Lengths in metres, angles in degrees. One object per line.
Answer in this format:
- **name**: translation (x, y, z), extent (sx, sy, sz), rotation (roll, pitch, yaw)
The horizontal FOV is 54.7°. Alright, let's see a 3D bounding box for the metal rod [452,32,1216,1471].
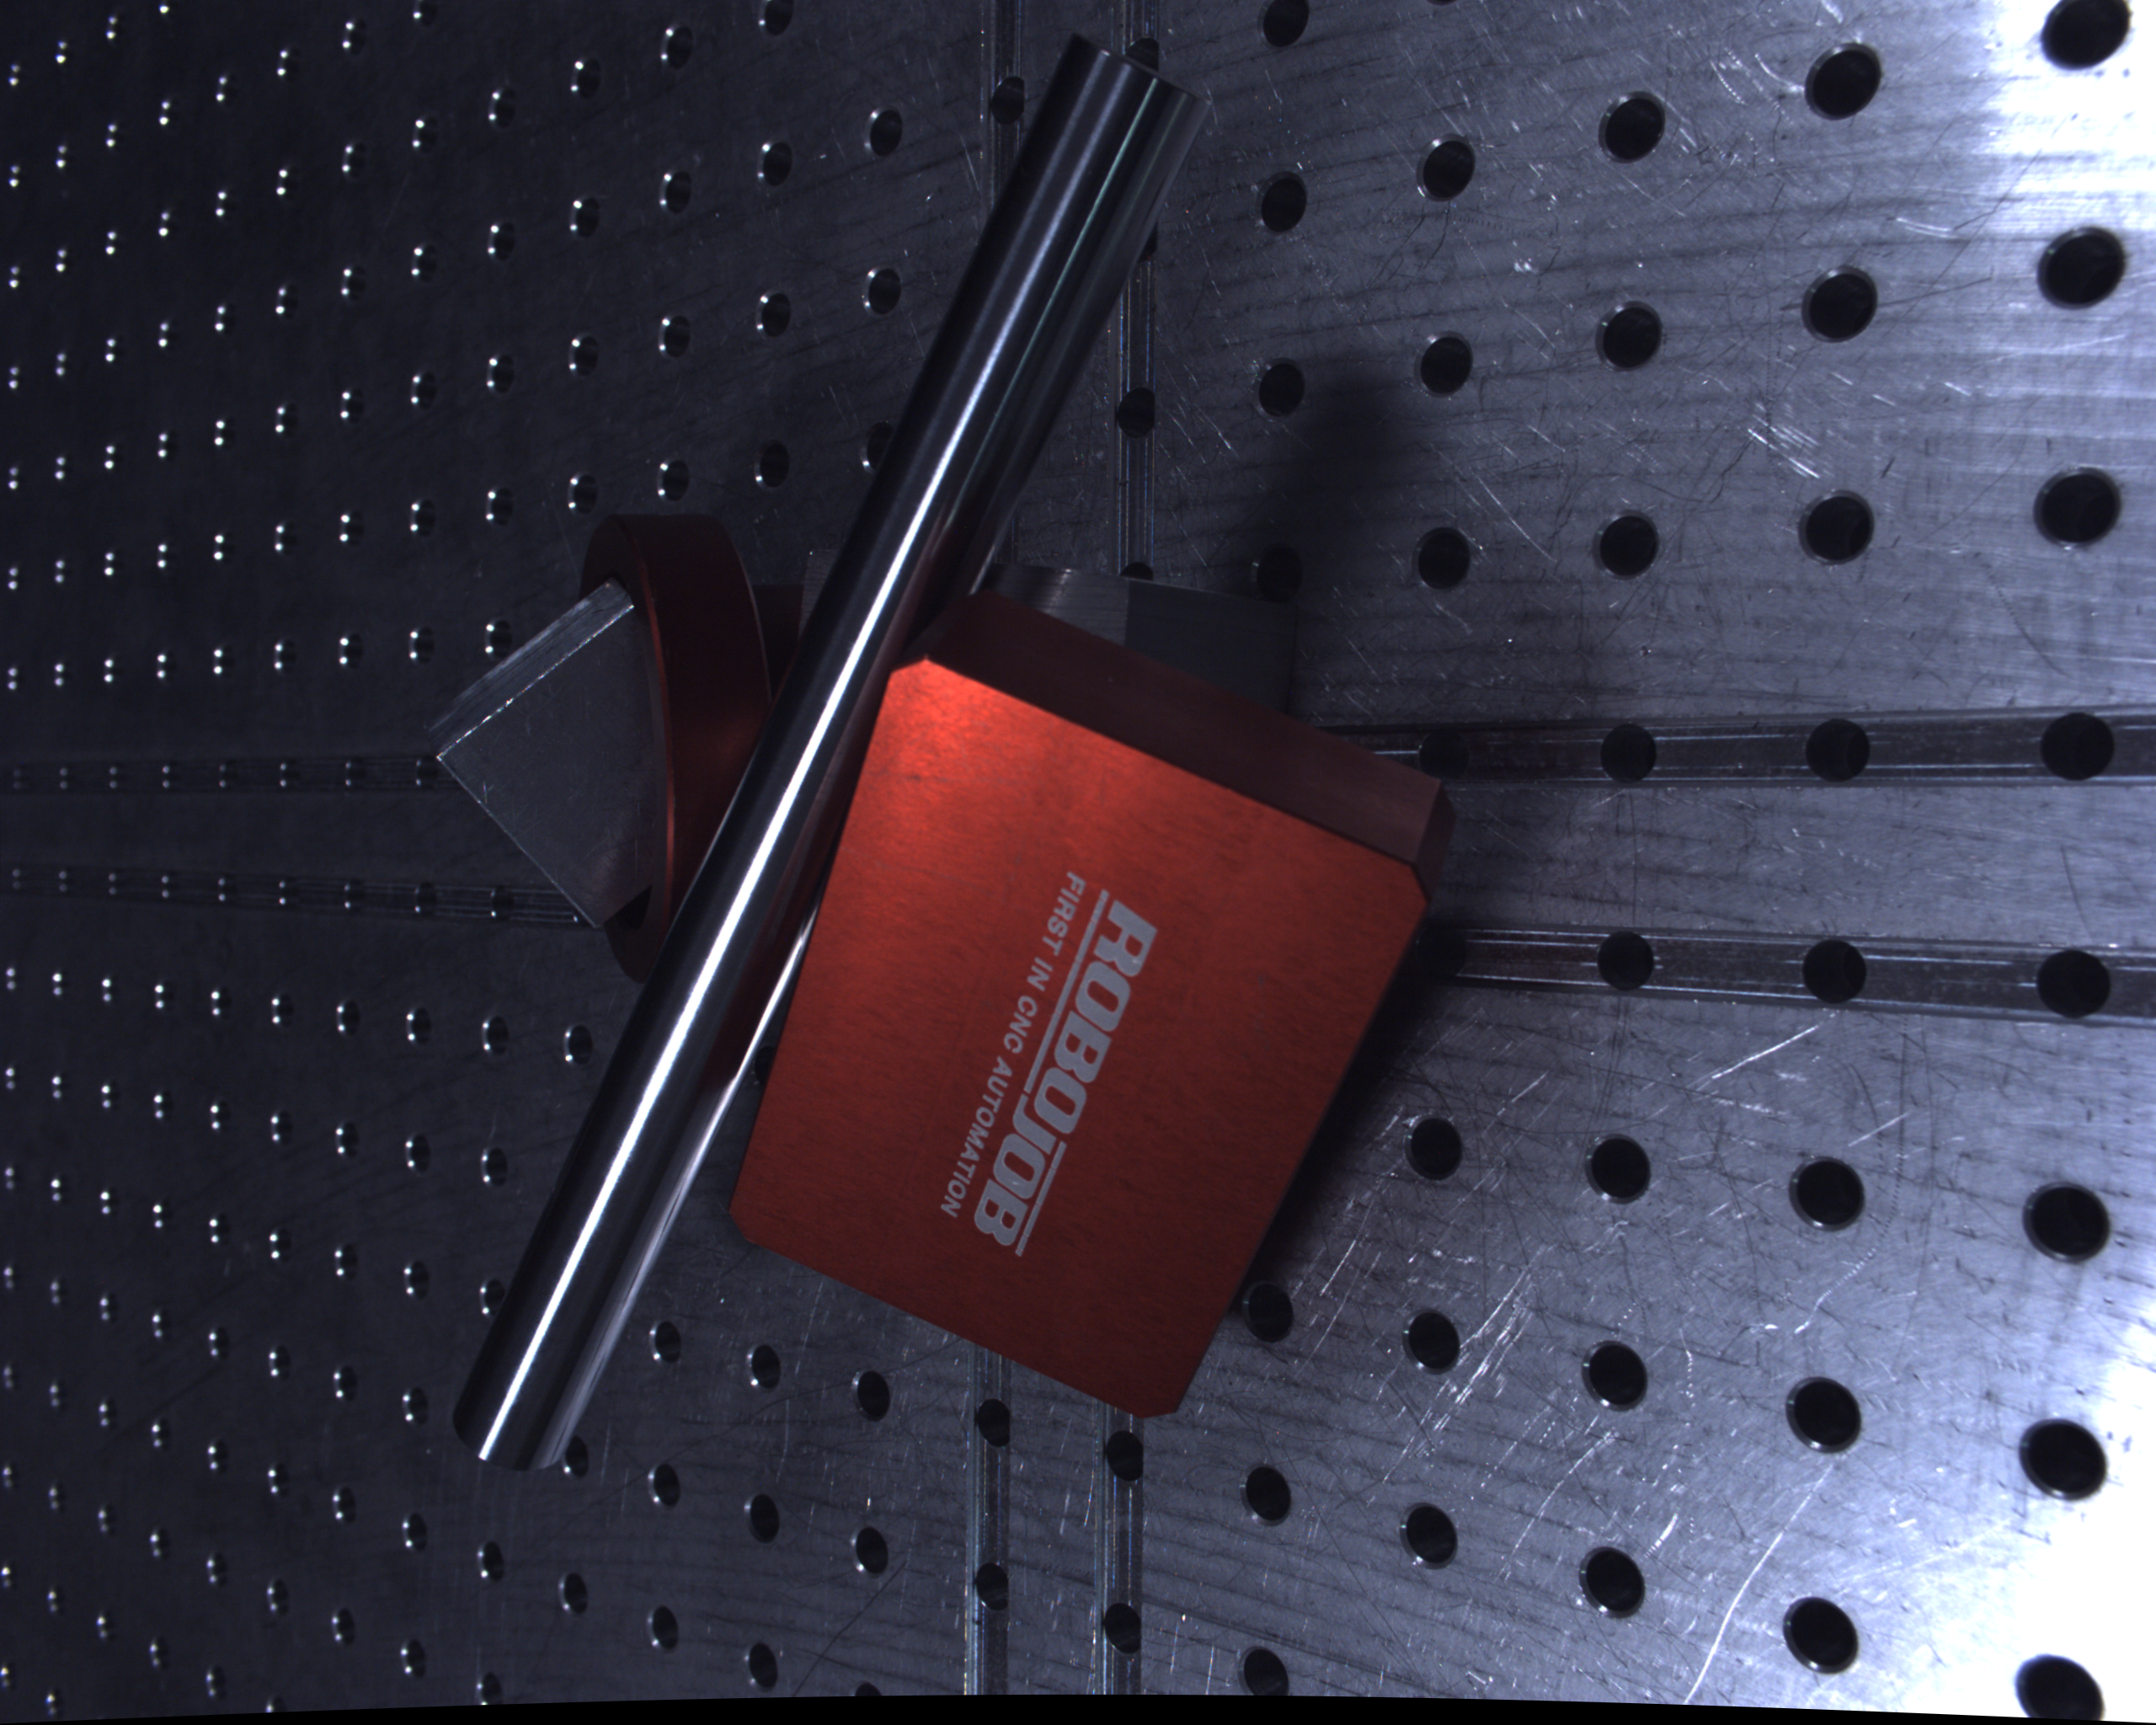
- **metal rod**: translation (-0.054, -0.004, 0.387), extent (0.025, 0.025, 0.298), rotation (42, 115, 32)

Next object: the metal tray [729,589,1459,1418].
- **metal tray**: translation (-0.001, 0.028, 0.362), extent (0.090, 0.030, 0.129), rotation (24, 123, 5)

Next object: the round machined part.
- **round machined part**: translation (-0.077, -0.024, 0.442), extent (0.098, 0.042, 0.097), rotation (177, 90, -65)

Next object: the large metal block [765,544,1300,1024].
- **large metal block**: translation (-0.010, -0.016, 0.399), extent (0.080, 0.050, 0.079), rotation (12, 97, 39)

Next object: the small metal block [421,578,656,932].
- **small metal block**: translation (-0.099, -0.023, 0.436), extent (0.050, 0.050, 0.025), rotation (-39, 30, -5)
